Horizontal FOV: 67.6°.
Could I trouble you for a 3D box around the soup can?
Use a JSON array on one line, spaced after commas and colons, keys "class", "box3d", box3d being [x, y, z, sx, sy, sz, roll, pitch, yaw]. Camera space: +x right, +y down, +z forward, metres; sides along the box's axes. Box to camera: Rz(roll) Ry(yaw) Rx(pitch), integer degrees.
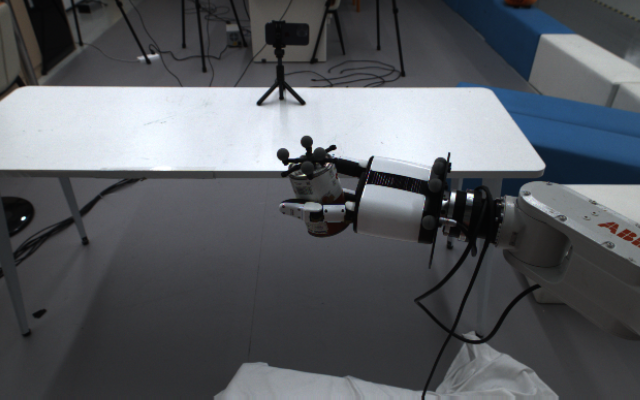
[{"class": "soup can", "box3d": [0.001, -0.007, 0.684, 0.067, 0.101, 0.067, -13, 31, 8]}]
